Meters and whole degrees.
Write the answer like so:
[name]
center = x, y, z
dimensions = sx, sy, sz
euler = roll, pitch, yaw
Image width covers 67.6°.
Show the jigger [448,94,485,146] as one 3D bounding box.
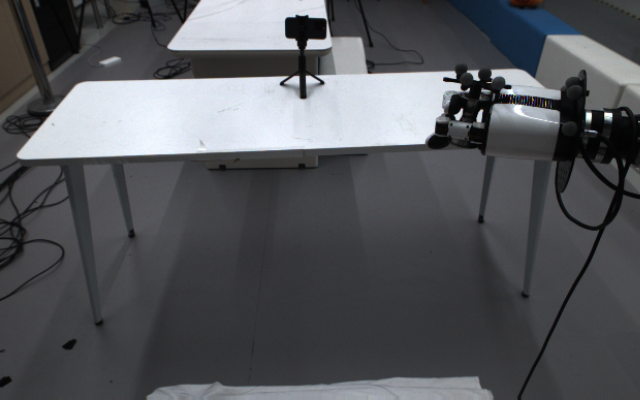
[jigger]
center = 0.206, -0.111, 0.672
dimensions = 0.043, 0.071, 0.043
euler = 6, 26, -3
